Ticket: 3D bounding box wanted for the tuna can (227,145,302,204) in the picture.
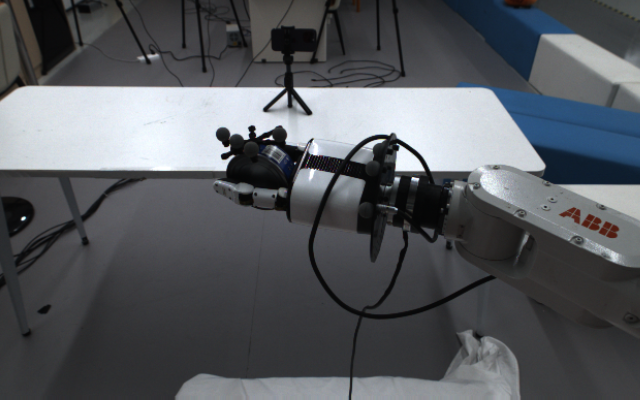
[{"bbox_3d":[-0.071,-0.031,0.615,0.085,0.085,0.034,14,40,16],"label":"tuna can"}]
